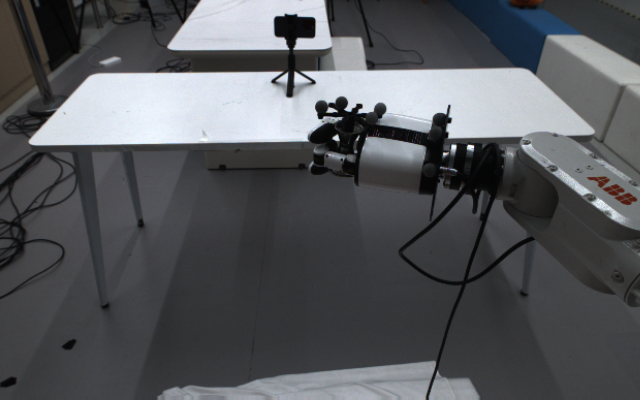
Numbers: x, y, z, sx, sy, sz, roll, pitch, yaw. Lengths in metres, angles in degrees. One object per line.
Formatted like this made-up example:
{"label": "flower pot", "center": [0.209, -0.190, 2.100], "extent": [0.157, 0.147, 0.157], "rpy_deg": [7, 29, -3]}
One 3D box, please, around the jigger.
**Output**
{"label": "jigger", "center": [0.040, -0.073, 0.686], "extent": [0.043, 0.071, 0.043], "rpy_deg": [4, 31, -2]}
